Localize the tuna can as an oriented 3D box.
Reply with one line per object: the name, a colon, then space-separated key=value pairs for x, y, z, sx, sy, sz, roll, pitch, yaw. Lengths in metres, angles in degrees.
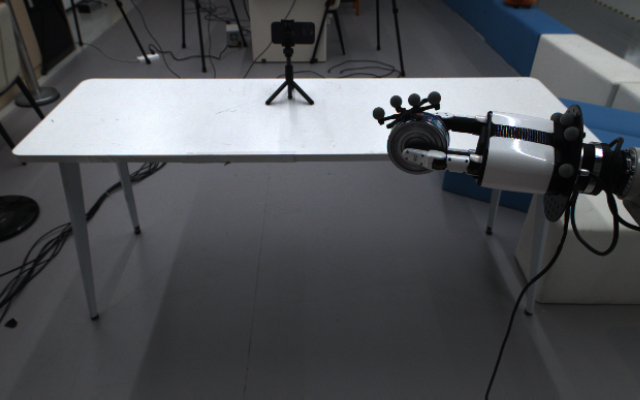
tuna can: x=0.140 y=-0.082 z=0.689 sx=0.085 sy=0.085 sz=0.034 roll=11 pitch=34 yaw=13
